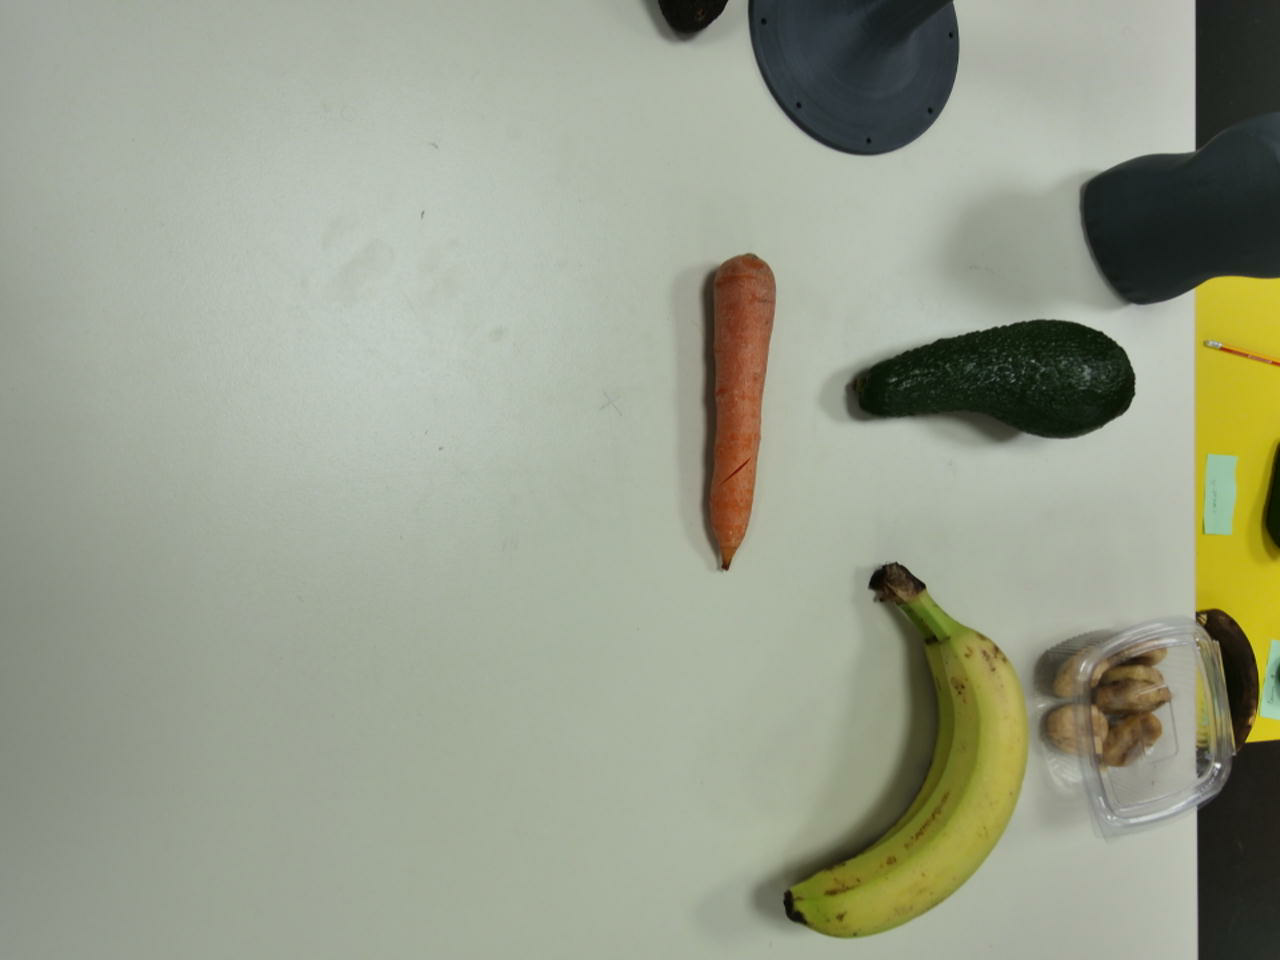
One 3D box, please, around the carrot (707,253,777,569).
[{"bbox_3d":[0.063,-0.040,0.616,0.039,0.041,0.196,1,90,-23],"label":"carrot"}]
